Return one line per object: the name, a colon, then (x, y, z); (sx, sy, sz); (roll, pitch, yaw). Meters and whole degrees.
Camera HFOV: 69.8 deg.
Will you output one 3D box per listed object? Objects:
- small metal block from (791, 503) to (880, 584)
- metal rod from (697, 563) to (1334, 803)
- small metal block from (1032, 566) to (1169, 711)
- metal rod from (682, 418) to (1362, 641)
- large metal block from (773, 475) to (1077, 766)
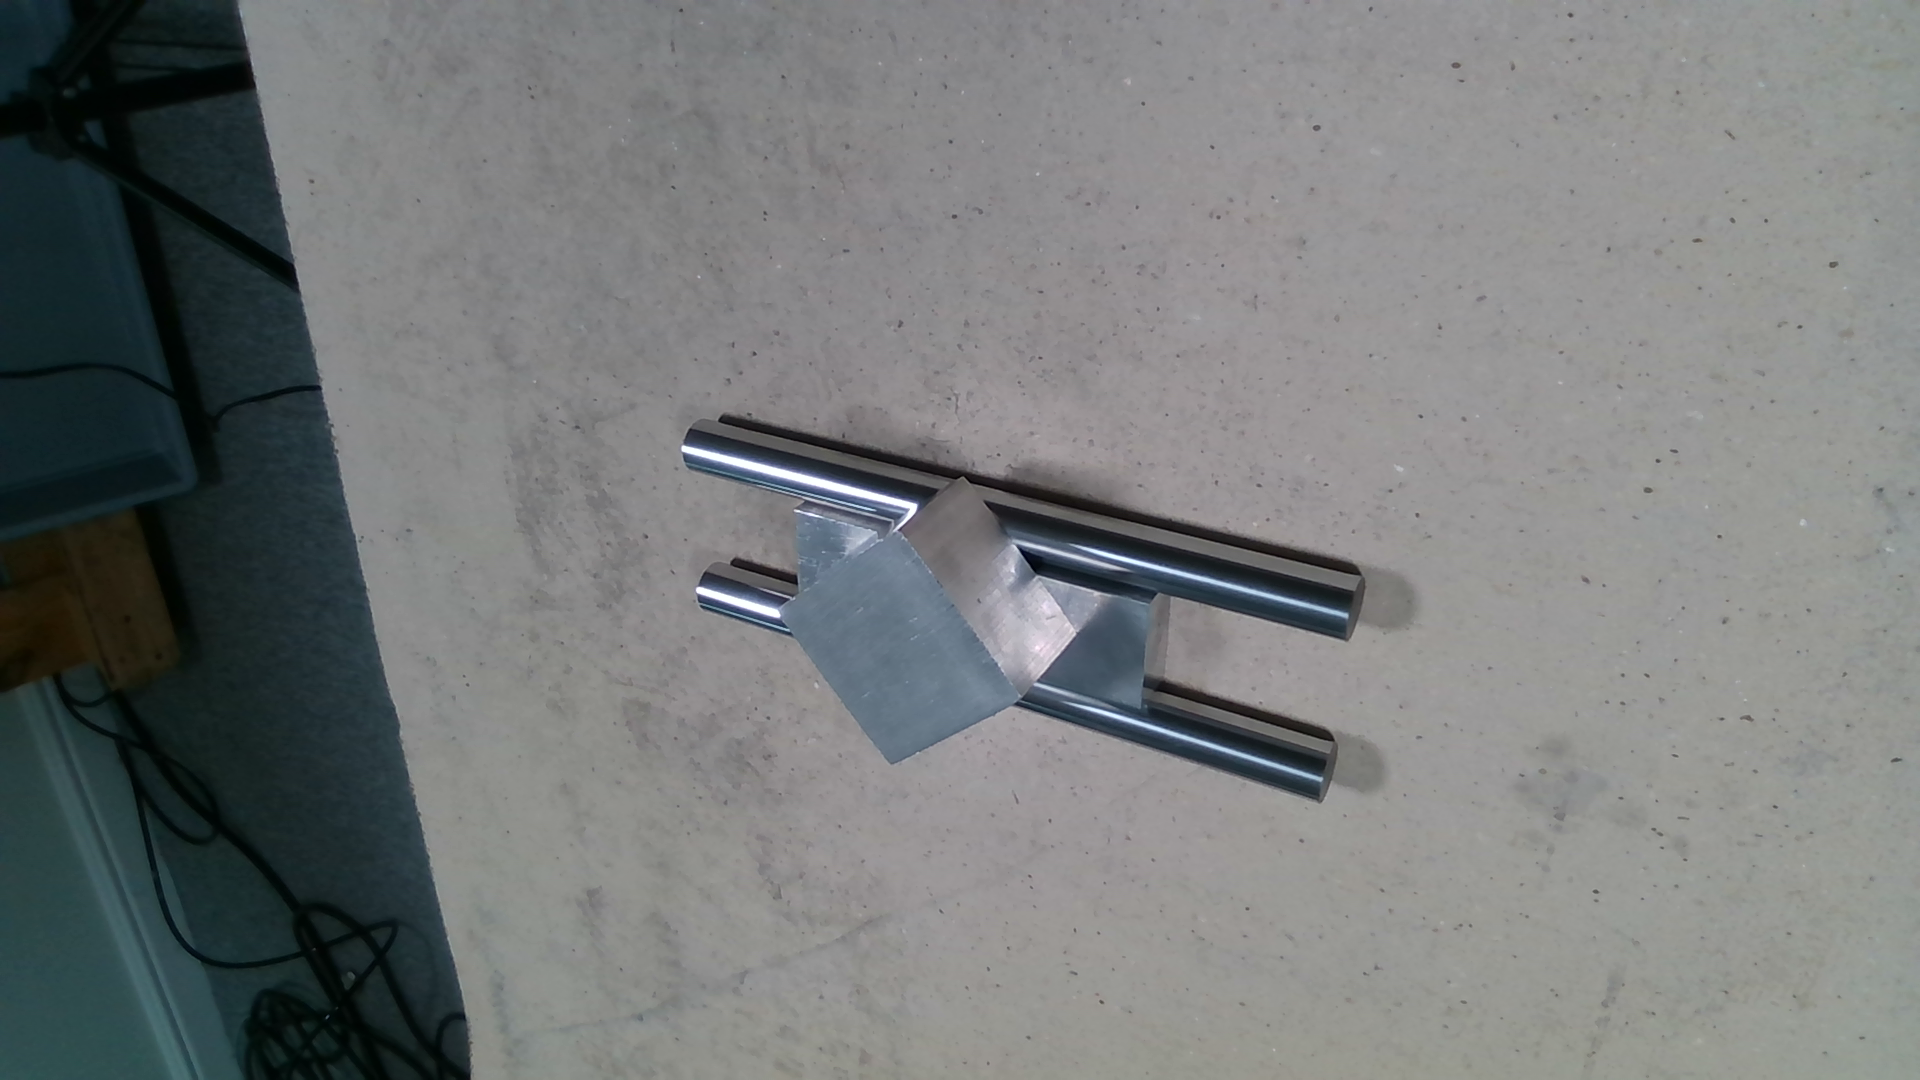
small metal block: (-0.046, 0.009, 0.612); (0.050, 0.025, 0.050); (15, 122, 24)
metal rod: (0.012, 0.057, 0.604); (0.300, 0.025, 0.025); (15, 122, 24)
small metal block: (0.057, 0.036, 0.564); (0.050, 0.025, 0.050); (15, 122, 24)
metal rod: (0.013, -0.010, 0.568); (0.300, 0.025, 0.025); (15, 122, 24)
large metal block: (-0.014, 0.034, 0.556); (0.080, 0.050, 0.080); (-32, 96, 39)
